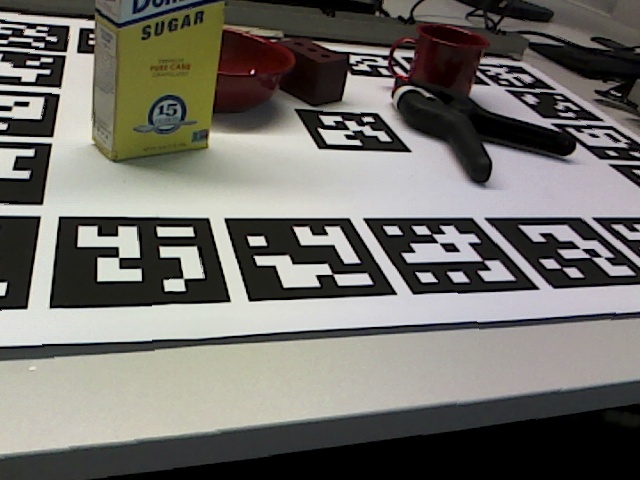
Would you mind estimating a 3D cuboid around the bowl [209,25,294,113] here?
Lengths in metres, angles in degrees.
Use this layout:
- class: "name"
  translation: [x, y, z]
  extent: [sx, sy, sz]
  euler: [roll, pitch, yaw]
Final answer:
- class: "bowl"
  translation: [-0.112, -0.181, 0.664]
  extent: [0.161, 0.055, 0.162]
  euler: [9, 34, -7]

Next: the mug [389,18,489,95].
- class: "mug"
  translation: [0.145, -0.230, 0.790]
  extent: [0.117, 0.081, 0.093]
  euler: [17, 34, 0]

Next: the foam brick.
- class: "foam brick"
  translation: [-0.012, -0.193, 0.728]
  extent: [0.052, 0.051, 0.078]
  euler: [-23, 49, -39]

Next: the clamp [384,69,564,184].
- class: "clamp"
  translation: [0.147, -0.138, 0.693]
  extent: [0.164, 0.036, 0.204]
  euler: [-20, 47, -36]

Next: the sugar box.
- class: "sugar box"
  translation: [-0.132, -0.148, 0.505]
  extent: [0.092, 0.176, 0.045]
  euler: [-19, 48, -40]
